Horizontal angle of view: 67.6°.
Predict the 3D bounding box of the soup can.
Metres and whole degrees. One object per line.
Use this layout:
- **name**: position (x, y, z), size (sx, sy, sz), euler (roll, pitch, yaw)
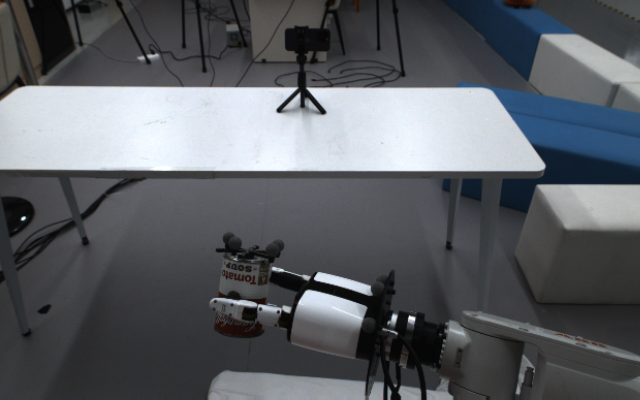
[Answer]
- **soup can**: position (-0.099, 0.124, 0.645), size (0.067, 0.101, 0.067), euler (7, 4, 0)
